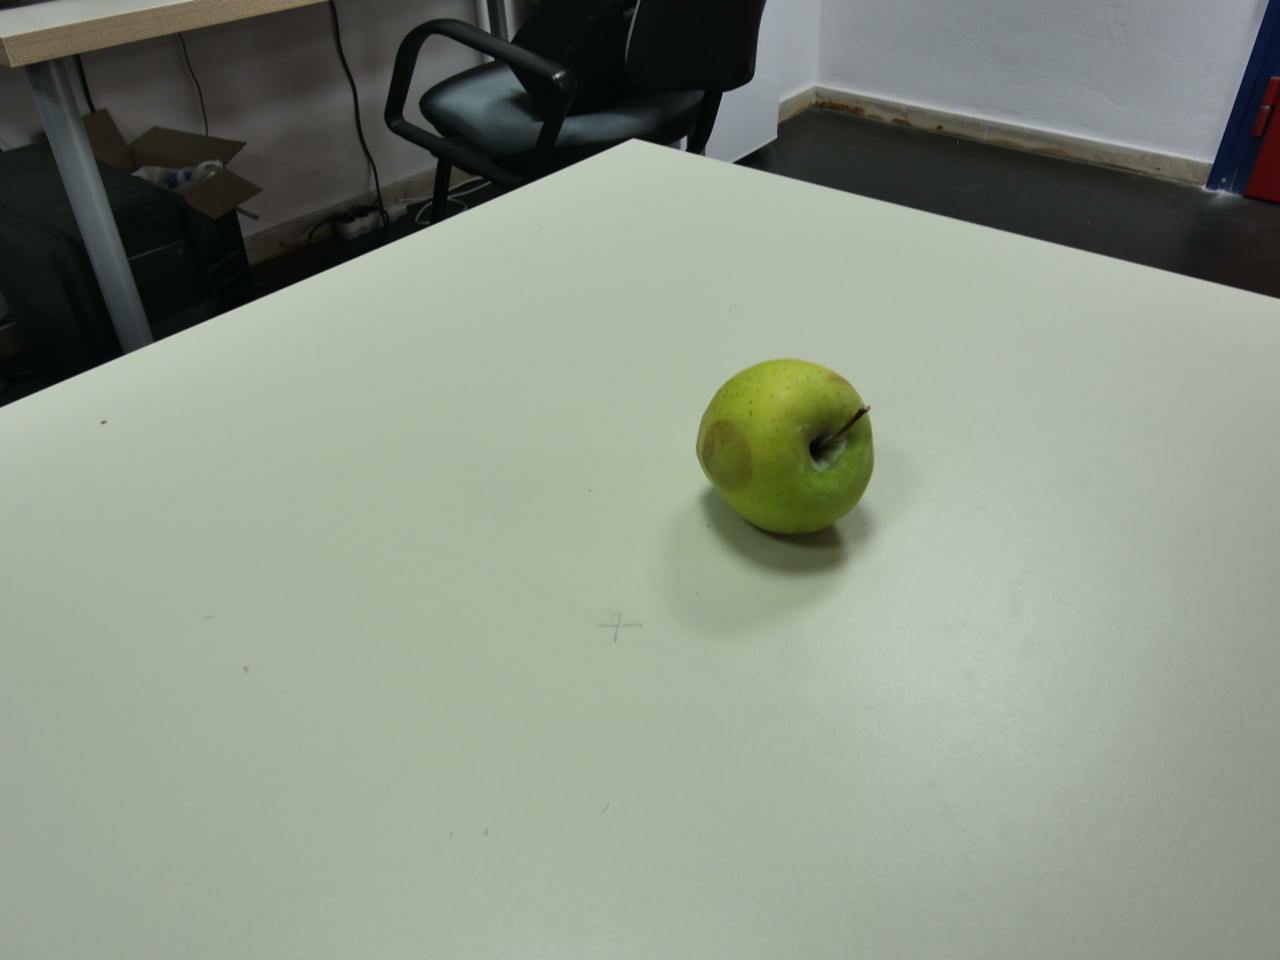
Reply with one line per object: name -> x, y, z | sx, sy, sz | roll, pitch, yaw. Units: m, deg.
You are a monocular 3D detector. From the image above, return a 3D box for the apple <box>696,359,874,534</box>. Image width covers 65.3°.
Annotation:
apple -> 0.063, -0.016, 0.428 | 0.072, 0.075, 0.077 | -4, 36, -4
